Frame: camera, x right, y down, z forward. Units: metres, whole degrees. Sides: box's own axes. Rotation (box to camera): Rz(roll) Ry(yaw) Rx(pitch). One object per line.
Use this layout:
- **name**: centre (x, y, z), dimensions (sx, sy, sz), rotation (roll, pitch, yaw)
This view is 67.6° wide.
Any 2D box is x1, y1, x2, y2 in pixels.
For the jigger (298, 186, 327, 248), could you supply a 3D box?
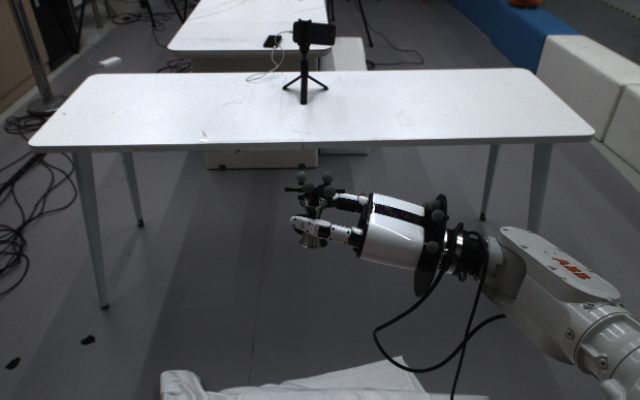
- **jigger**: centre (-0.010, 0.032, 0.734), dimensions (0.043, 0.071, 0.043), rotation (1, 20, 0)
